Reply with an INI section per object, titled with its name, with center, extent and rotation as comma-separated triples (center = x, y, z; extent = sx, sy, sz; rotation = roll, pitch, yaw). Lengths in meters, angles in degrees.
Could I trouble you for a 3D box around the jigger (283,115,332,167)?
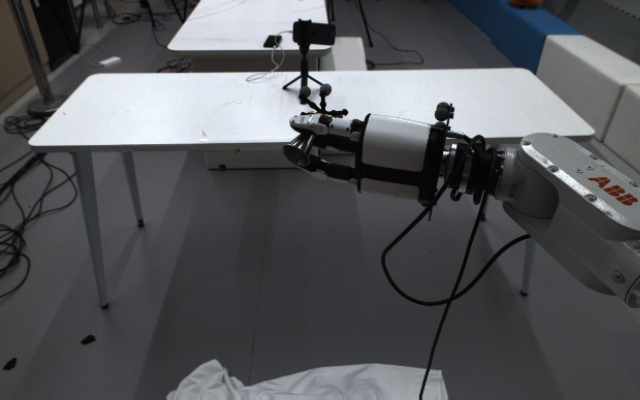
[jigger]
center = -0.020, -0.092, 0.684
extent = 0.043, 0.043, 0.071
rotation = 19, 61, 23
